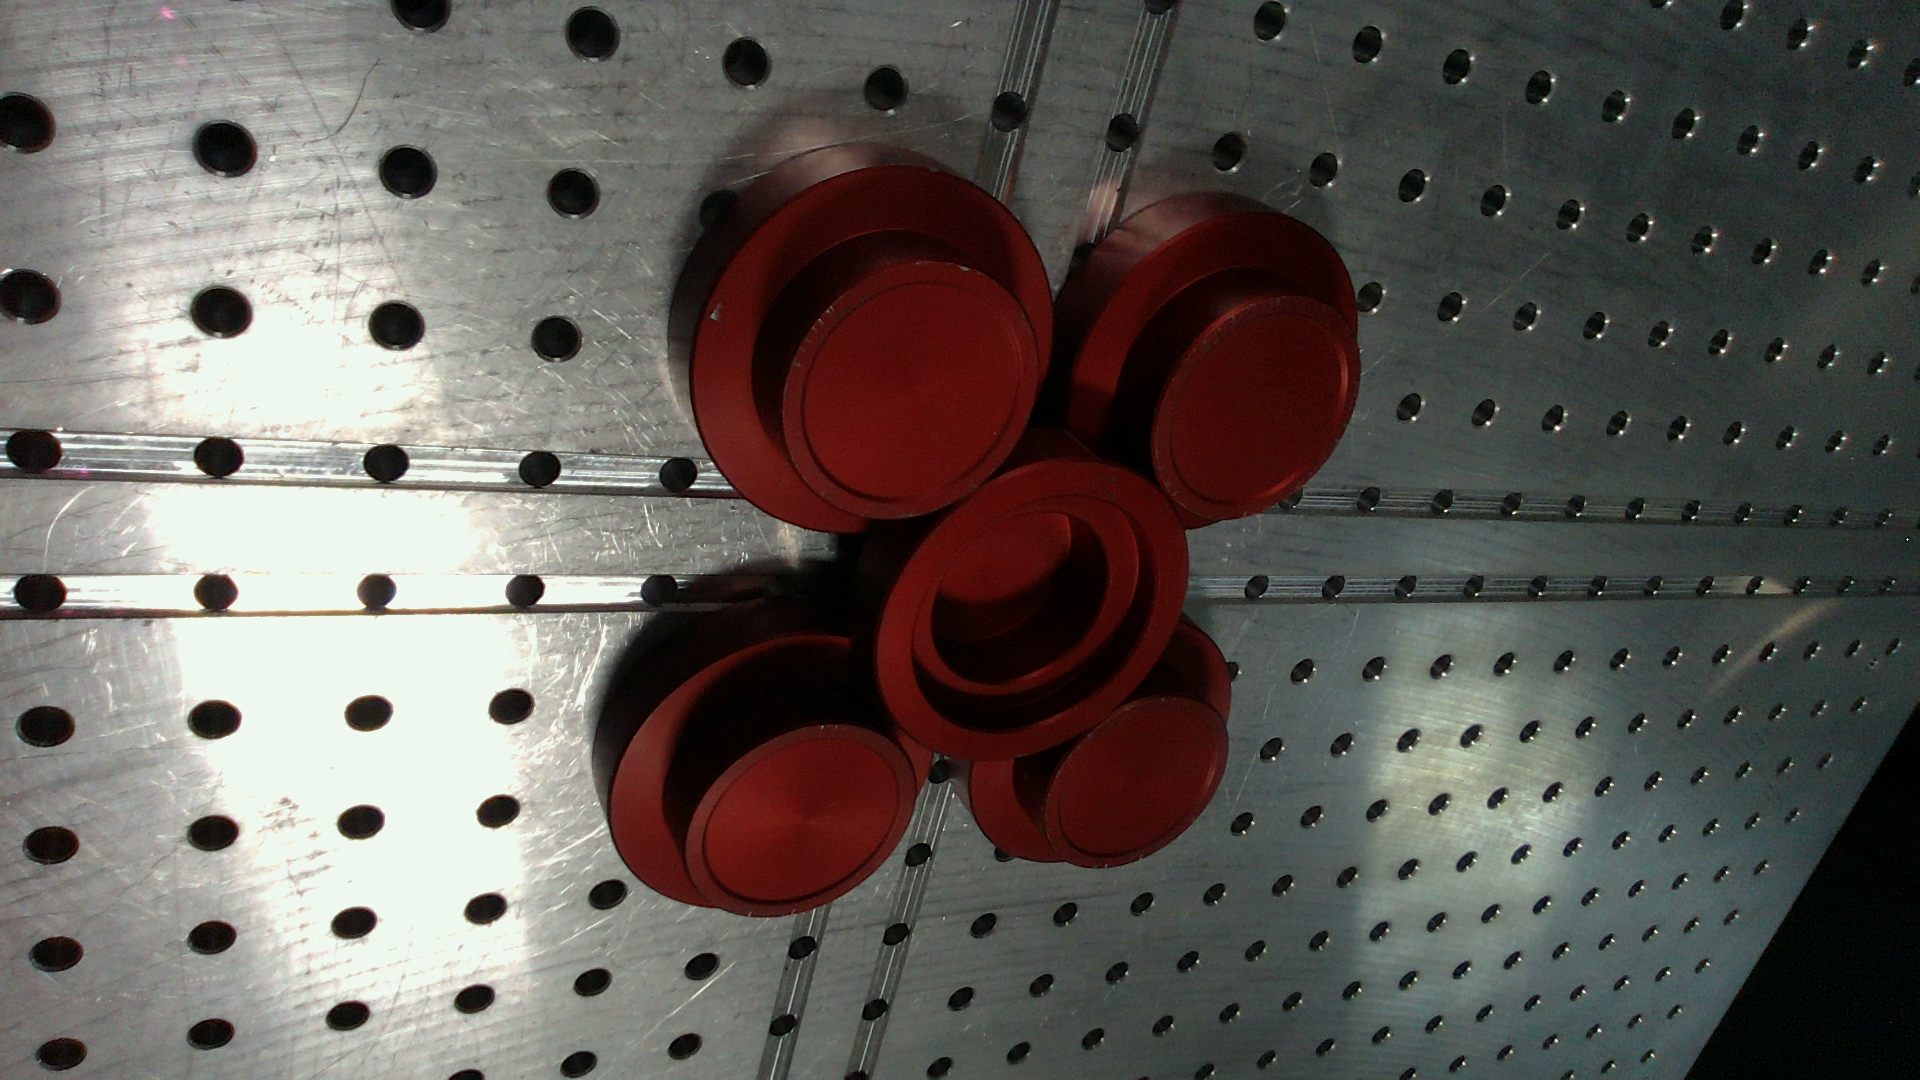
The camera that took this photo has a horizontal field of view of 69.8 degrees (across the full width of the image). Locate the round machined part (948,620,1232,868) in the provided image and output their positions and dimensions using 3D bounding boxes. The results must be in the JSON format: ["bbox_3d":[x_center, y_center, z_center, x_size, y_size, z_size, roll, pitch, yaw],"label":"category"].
[{"bbox_3d":[0.048,0.067,0.447,0.098,0.042,0.098,-14,124,-21],"label":"round machined part"}]

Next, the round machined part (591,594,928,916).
[{"bbox_3d":[-0.052,0.068,0.395,0.098,0.042,0.098,-14,124,-21],"label":"round machined part"}]

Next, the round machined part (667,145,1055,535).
[{"bbox_3d":[-0.019,-0.044,0.343,0.098,0.042,0.098,-14,124,-21],"label":"round machined part"}]

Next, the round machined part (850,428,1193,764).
[{"bbox_3d":[0.014,0.012,0.394,0.098,0.042,0.098,-14,124,-21],"label":"round machined part"}]

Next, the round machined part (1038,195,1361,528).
[{"bbox_3d":[0.074,-0.045,0.393,0.098,0.042,0.098,-14,124,-21],"label":"round machined part"}]
